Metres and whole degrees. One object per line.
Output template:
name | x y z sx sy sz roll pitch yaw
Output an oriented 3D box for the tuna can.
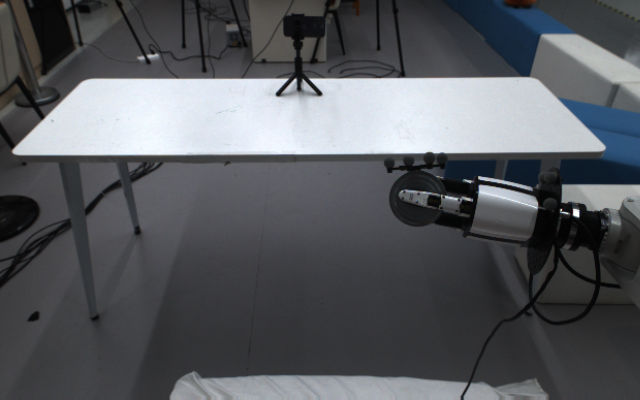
tuna can | 0.151 -0.004 0.744 0.085 0.085 0.034 11 2 12
